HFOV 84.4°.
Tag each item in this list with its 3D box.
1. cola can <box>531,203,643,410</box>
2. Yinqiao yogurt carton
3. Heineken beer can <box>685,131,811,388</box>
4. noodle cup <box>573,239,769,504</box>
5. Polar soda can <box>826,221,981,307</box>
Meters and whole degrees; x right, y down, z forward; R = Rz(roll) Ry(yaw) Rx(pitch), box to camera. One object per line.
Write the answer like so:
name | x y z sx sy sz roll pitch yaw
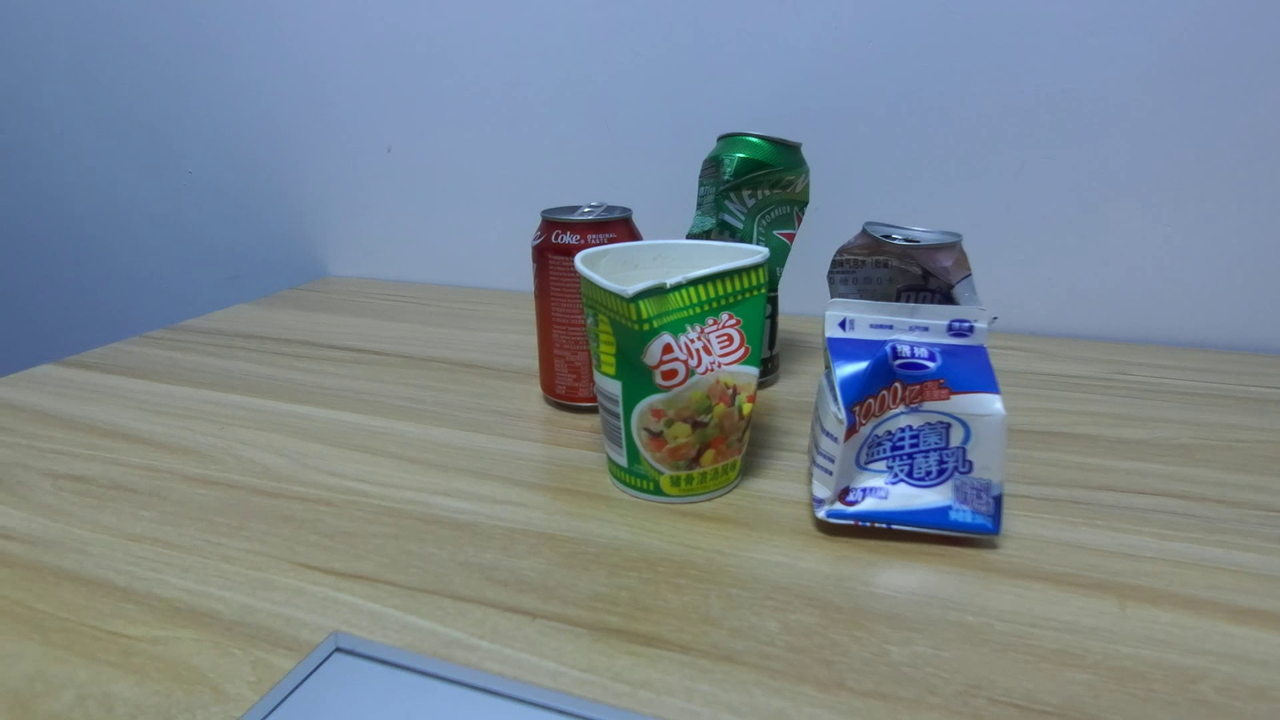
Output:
cola can | -0.031 -0.036 0.439 0.068 0.120 0.068 0 23 0
Yinqiao yogurt carton | 0.124 0.033 0.344 0.077 0.094 0.071 6 -3 6
Heineken beer can | 0.066 -0.061 0.454 0.067 0.159 0.079 10 14 17
noodle cup | 0.018 0.003 0.343 0.094 0.109 0.086 -9 22 -18
Polar soda can | 0.150 -0.020 0.401 0.074 0.114 0.070 -8 27 -11
